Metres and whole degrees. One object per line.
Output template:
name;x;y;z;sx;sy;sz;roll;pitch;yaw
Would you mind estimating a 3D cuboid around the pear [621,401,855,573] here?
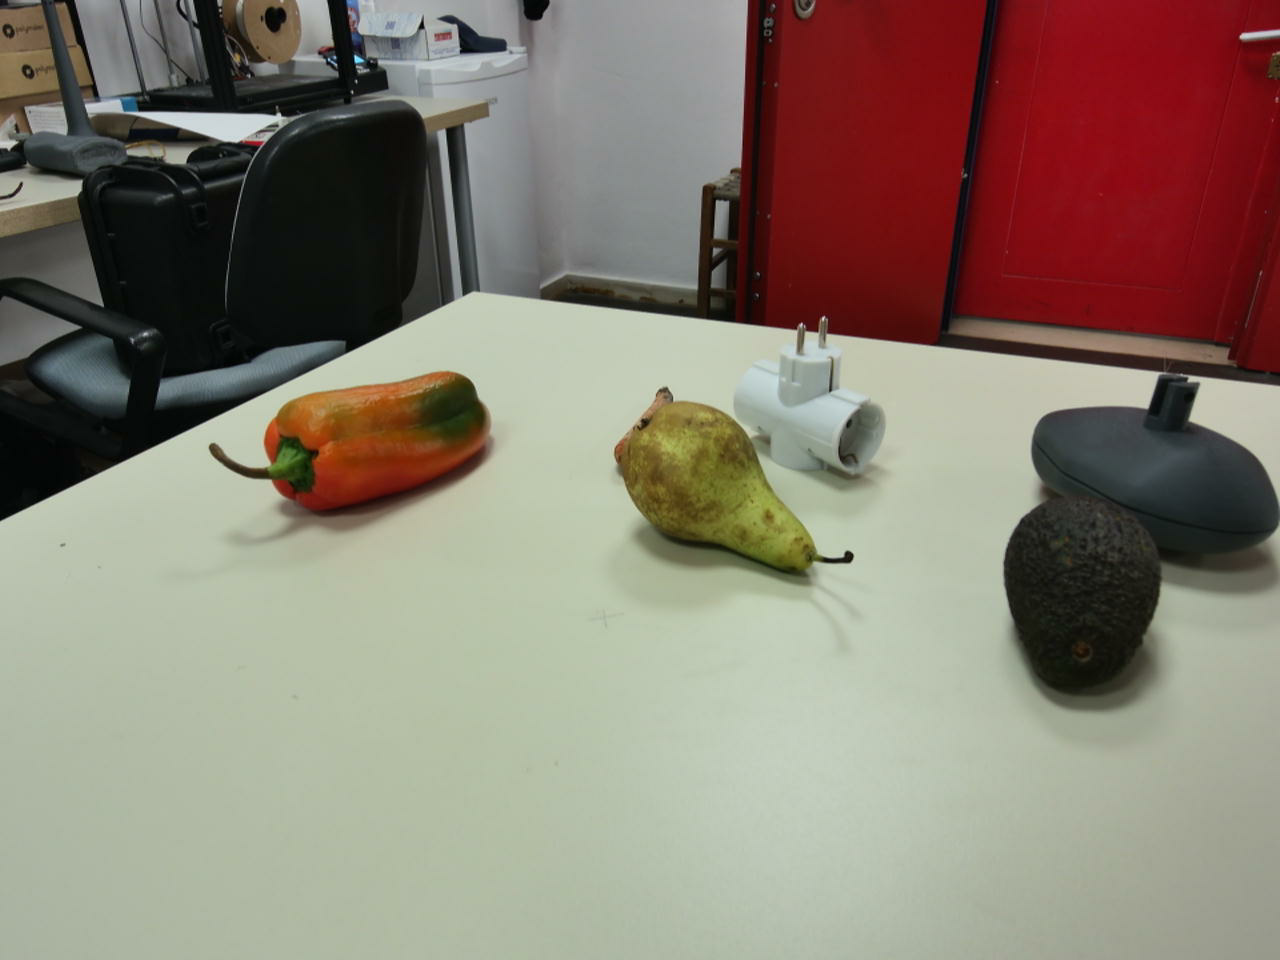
pear;0.057;0.002;0.526;0.144;0.075;0.071;14;29;29
